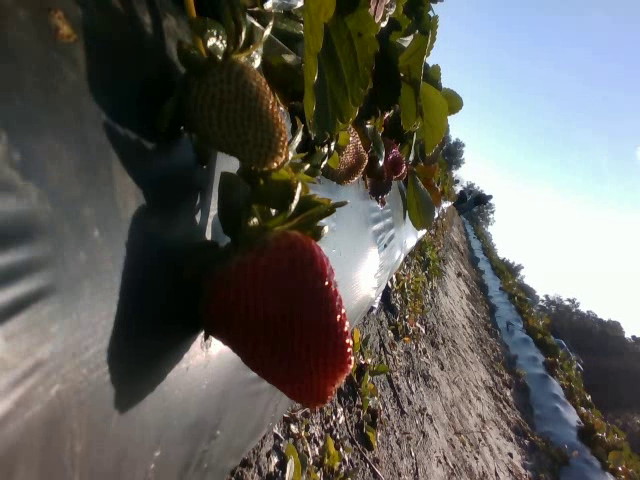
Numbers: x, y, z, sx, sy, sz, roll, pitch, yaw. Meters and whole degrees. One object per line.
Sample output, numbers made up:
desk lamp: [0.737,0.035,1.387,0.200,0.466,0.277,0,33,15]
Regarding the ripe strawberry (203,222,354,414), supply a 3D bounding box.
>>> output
ripe strawberry: [-0.012,0.024,0.171,0.042,0.059,0.042,-19,-18,-1]
